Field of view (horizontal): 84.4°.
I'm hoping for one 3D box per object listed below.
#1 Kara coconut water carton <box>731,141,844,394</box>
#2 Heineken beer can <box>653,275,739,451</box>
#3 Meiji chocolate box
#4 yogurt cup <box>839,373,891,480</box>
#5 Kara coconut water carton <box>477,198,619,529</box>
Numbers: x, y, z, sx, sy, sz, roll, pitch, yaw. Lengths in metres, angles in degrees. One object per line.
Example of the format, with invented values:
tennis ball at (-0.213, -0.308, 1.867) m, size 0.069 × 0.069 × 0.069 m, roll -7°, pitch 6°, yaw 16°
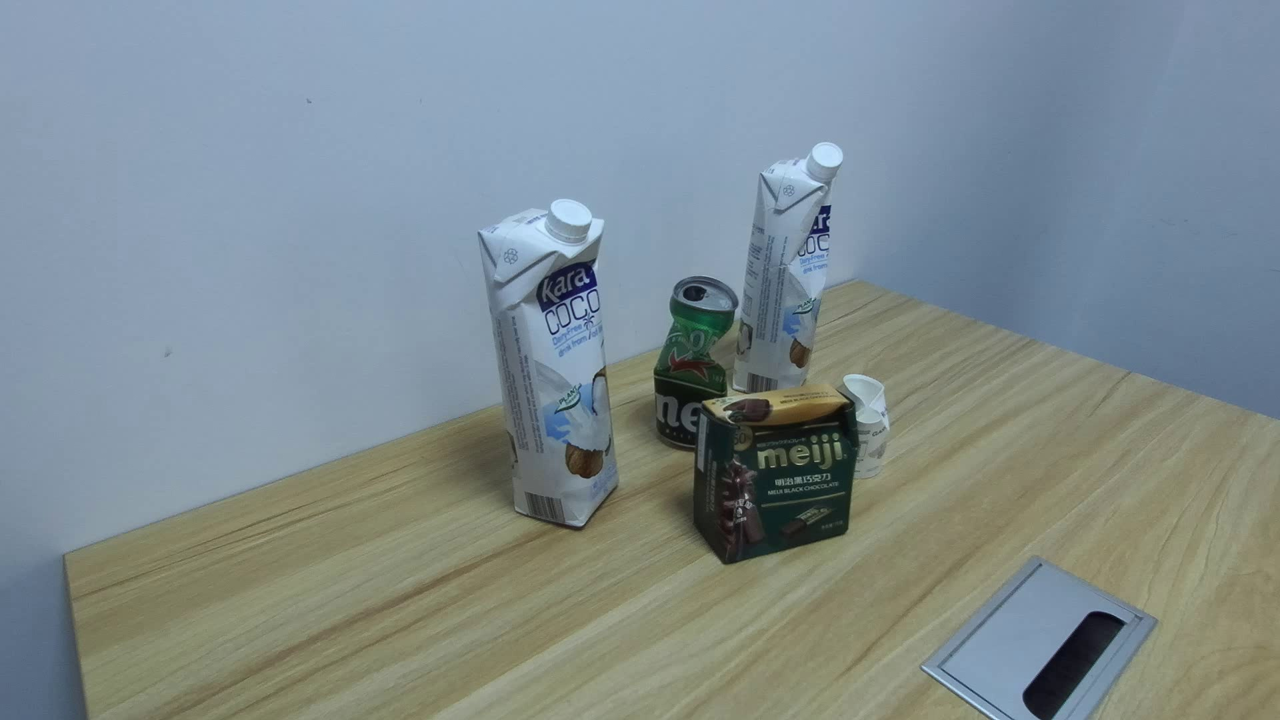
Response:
Kara coconut water carton at (0.144, -0.085, 0.701) m, size 0.078 × 0.255 × 0.083 m, roll 23°, pitch 33°, yaw 35°
Heineken beer can at (0.048, 0.006, 0.629) m, size 0.067 × 0.159 × 0.078 m, roll -21°, pitch 40°, yaw -33°
Meiji chocolate box at (0.101, 0.084, 0.535) m, size 0.113 × 0.111 × 0.058 m, roll -7°, pitch 20°, yaw -20°
yogurt cup at (0.191, 0.060, 0.618) m, size 0.054 × 0.071 × 0.075 m, roll -7°, pitch 30°, yaw -16°
Kara coconut water carton at (-0.062, 0.002, 0.533) m, size 0.071 × 0.244 × 0.100 m, roll 9°, pitch 30°, yaw 22°
